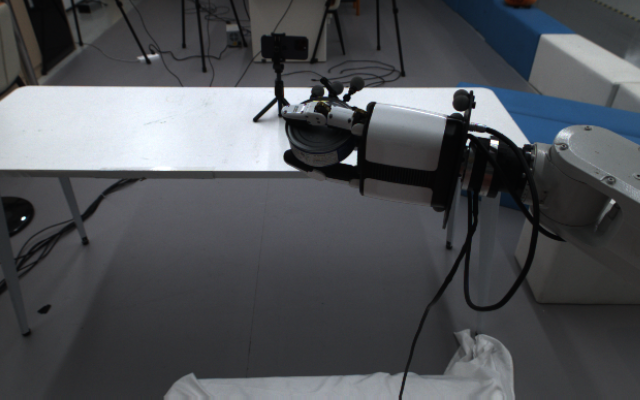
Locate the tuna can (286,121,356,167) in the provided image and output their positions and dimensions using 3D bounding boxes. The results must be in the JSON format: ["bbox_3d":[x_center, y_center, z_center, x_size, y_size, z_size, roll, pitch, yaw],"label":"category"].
[{"bbox_3d":[0.003,-0.085,0.590,0.085,0.034,0.085,-4,56,6],"label":"tuna can"}]
